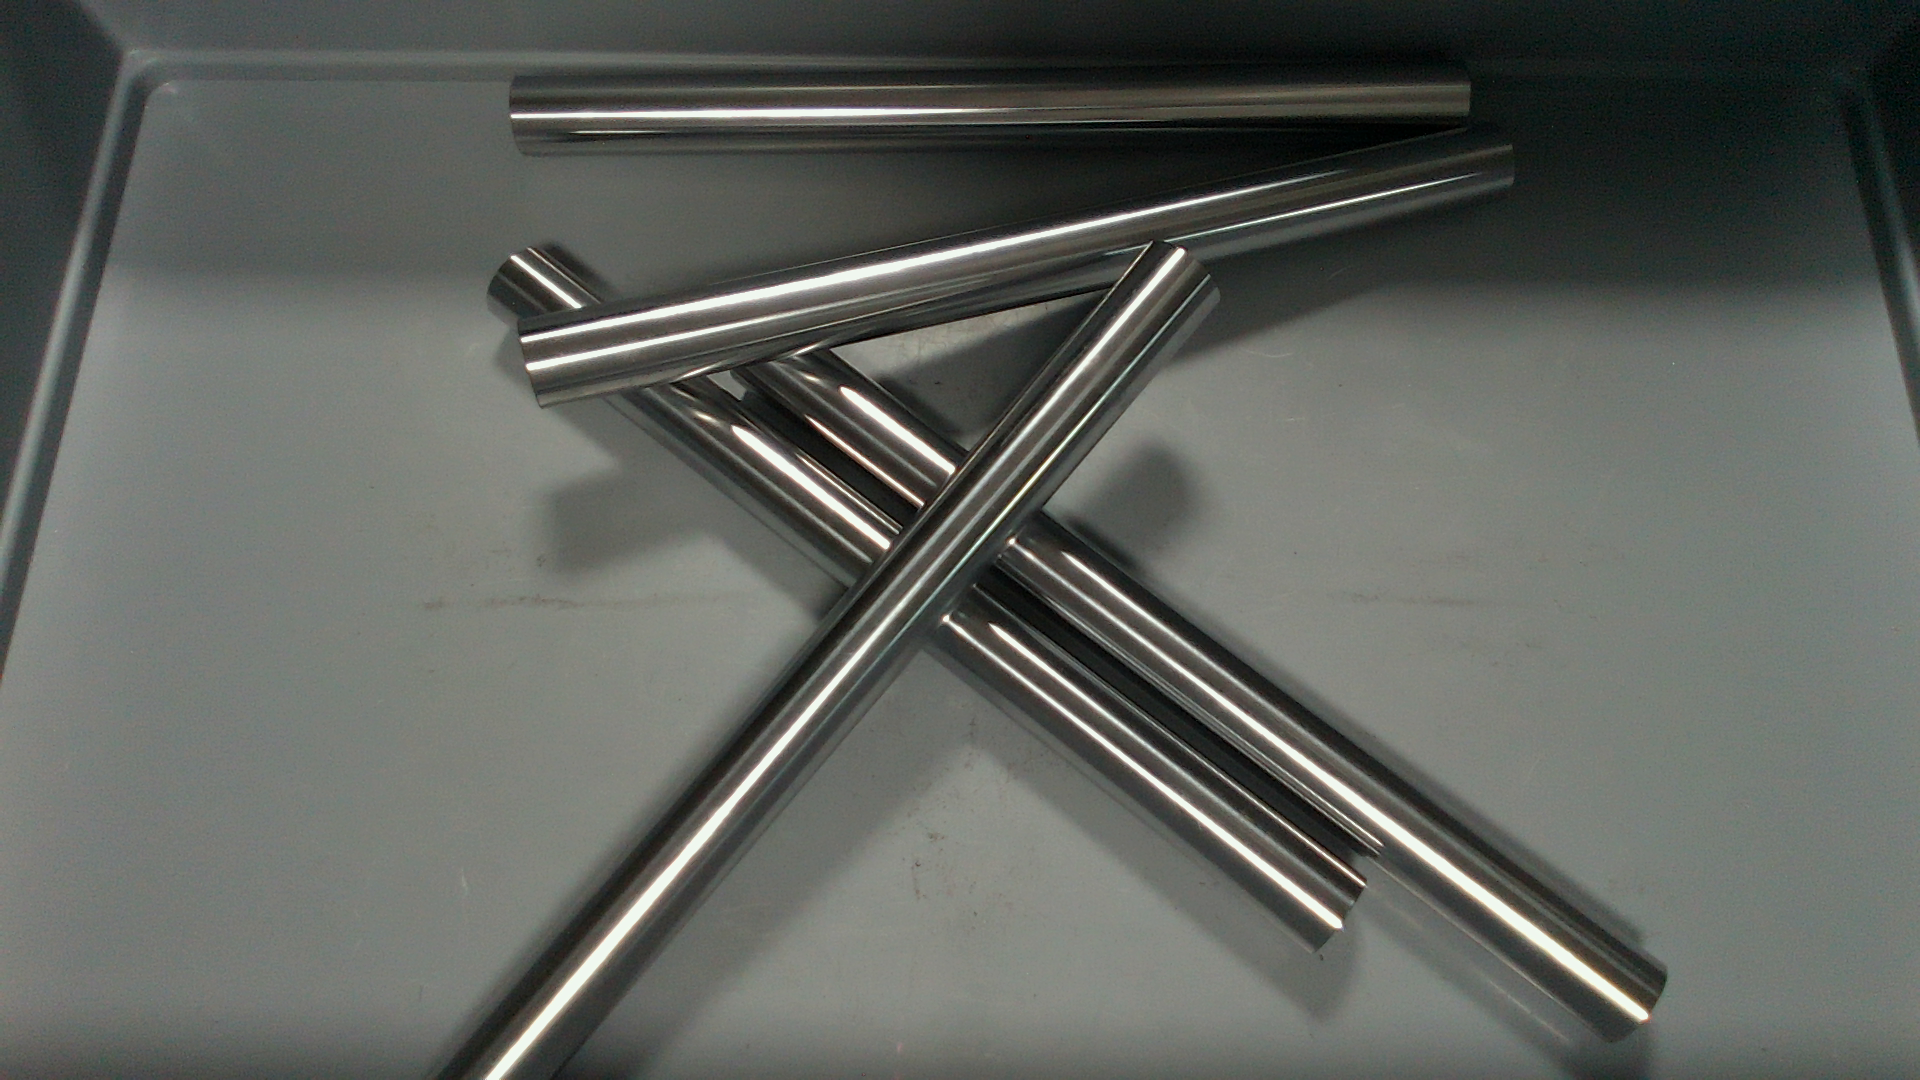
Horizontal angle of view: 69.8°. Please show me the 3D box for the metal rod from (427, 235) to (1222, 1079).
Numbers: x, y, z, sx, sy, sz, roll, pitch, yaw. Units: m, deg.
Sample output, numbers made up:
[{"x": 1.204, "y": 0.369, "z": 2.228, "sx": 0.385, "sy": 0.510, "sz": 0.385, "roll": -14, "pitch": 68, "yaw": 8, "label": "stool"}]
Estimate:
[{"x": -0.035, "y": 0.038, "z": 0.358, "sx": 0.025, "sy": 0.025, "sz": 0.300, "roll": 39, "pitch": 82, "yaw": 13, "label": "metal rod"}]

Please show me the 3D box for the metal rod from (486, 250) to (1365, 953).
[{"x": -0.019, "y": 0.010, "z": 0.391, "sx": 0.300, "sy": 0.025, "sz": 0.025, "roll": 37, "pitch": 74, "yaw": 12, "label": "metal rod"}]

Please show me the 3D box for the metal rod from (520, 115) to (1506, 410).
[{"x": 0.025, "y": -0.086, "z": 0.409, "sx": 0.300, "sy": 0.025, "sz": 0.025, "roll": -15, "pitch": 70, "yaw": -12, "label": "metal rod"}]

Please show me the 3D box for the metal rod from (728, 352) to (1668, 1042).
[{"x": 0.055, "y": 0.030, "z": 0.384, "sx": 0.300, "sy": 0.025, "sz": 0.025, "roll": 37, "pitch": 74, "yaw": 12, "label": "metal rod"}]

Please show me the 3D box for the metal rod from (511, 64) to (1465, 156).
[{"x": 0.009, "y": -0.139, "z": 0.445, "sx": 0.300, "sy": 0.025, "sz": 0.025, "roll": -1, "pitch": 70, "yaw": 0, "label": "metal rod"}]
